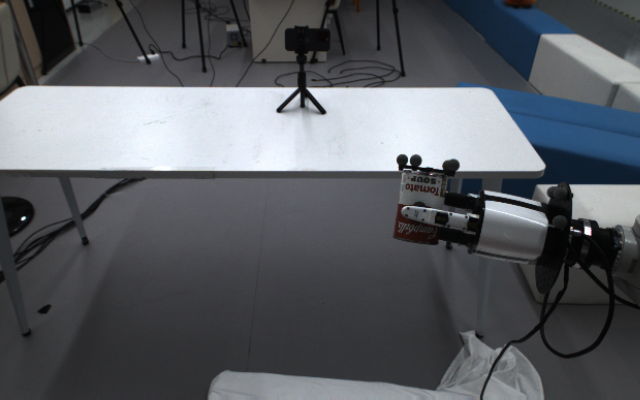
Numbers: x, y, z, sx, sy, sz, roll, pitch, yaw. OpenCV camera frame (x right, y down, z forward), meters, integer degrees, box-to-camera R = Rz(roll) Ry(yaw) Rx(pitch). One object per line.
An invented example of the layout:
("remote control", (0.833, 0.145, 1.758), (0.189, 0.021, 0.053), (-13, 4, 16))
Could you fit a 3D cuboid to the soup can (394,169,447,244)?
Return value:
("soup can", (0.150, 0.008, 0.715), (0.067, 0.101, 0.067), (7, 4, 0))
